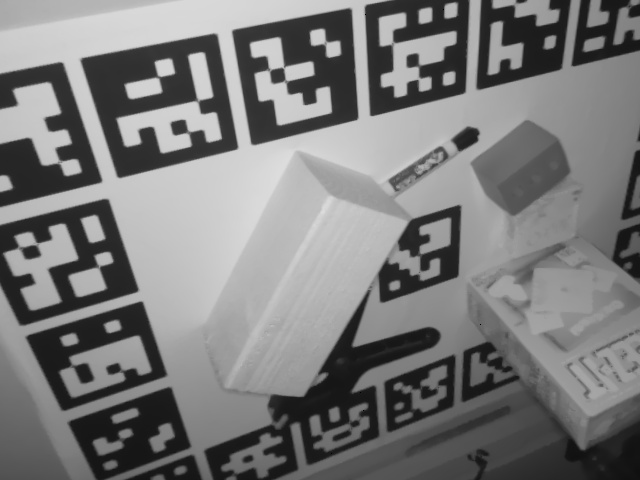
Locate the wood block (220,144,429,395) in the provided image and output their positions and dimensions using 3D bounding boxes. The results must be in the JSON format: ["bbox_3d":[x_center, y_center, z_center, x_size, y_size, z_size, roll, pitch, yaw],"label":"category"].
[{"bbox_3d":[-0.001,0.031,0.641,0.091,0.091,0.204,17,112,-33],"label":"wood block"}]

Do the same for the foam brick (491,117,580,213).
[{"bbox_3d":[0.225,-0.076,0.702,0.078,0.051,0.053,-37,124,-1],"label":"foam brick"}]

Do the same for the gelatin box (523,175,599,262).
[{"bbox_3d":[0.268,-0.024,0.766,0.090,0.030,0.073,-18,121,-14],"label":"gelatin box"}]

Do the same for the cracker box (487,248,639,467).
[{"bbox_3d":[0.301,0.110,0.733,0.165,0.213,0.071,-19,124,-11],"label":"cracker box"}]

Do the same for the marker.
[{"bbox_3d":[0.133,-0.083,0.675,0.121,0.019,0.019,-33,123,-4],"label":"marker"}]

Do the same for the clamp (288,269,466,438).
[{"bbox_3d":[0.045,0.136,0.747,0.202,0.036,0.166,-43,125,2],"label":"clamp"}]
